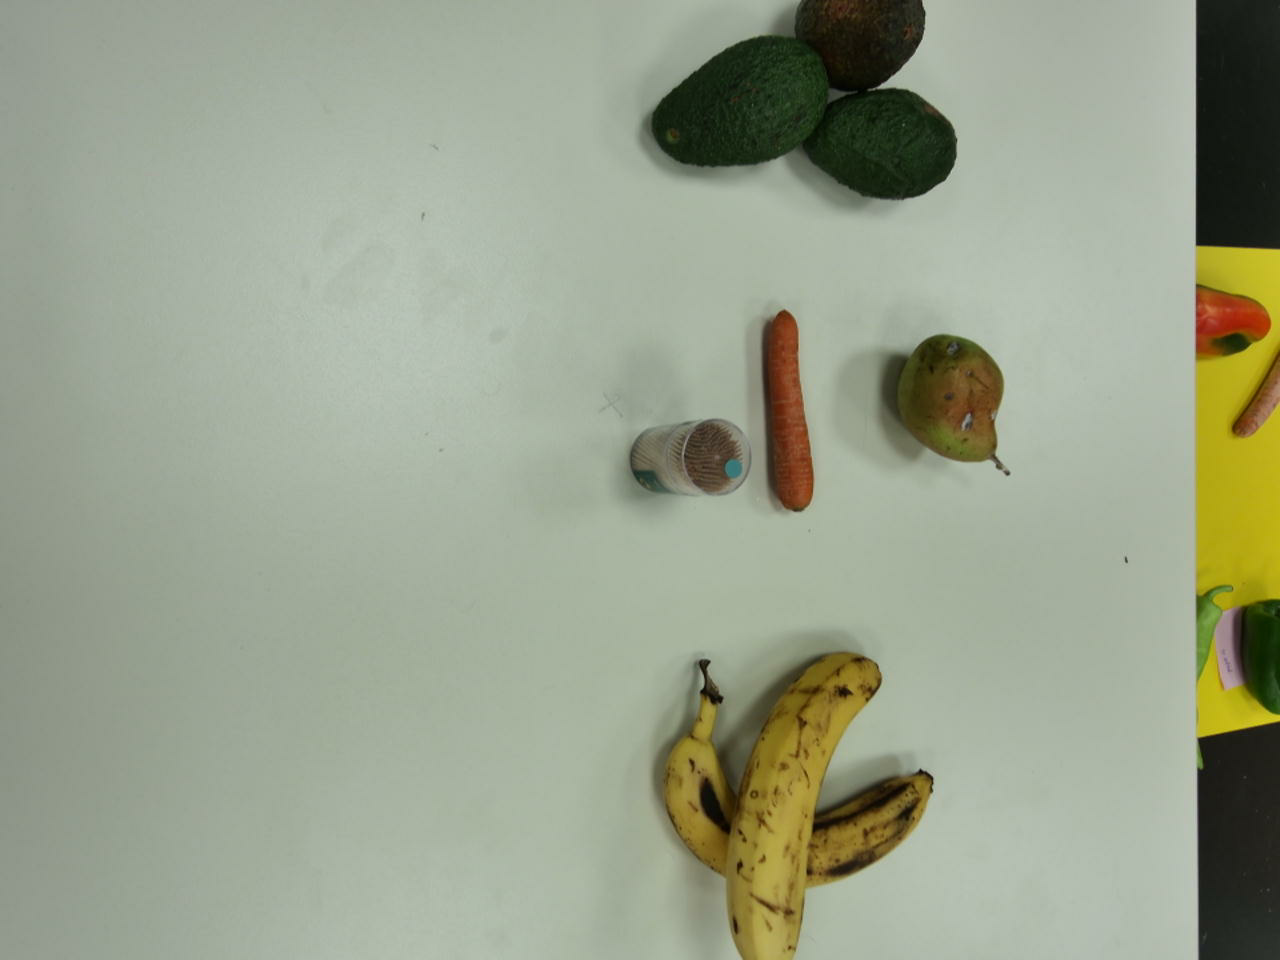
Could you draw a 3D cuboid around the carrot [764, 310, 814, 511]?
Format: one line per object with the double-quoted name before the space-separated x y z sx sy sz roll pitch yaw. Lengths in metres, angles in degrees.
"carrot" 0.089 -0.041 0.600 0.024 0.023 0.122 -4 92 -22
